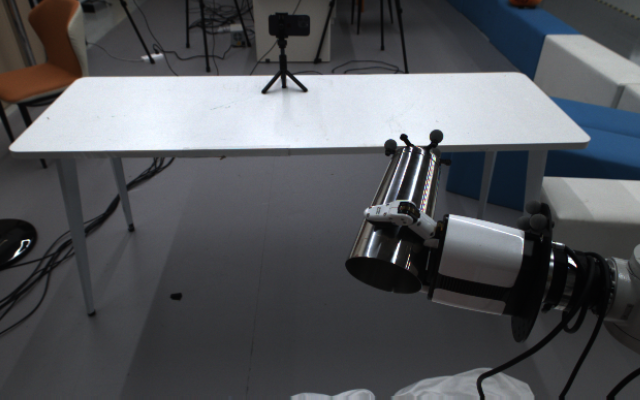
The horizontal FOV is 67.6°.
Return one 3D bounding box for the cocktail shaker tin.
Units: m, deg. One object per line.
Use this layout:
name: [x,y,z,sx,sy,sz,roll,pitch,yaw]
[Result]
cocktail shaker tin: [0.100,0.018,0.599,0.093,0.093,0.170,13,59,16]
